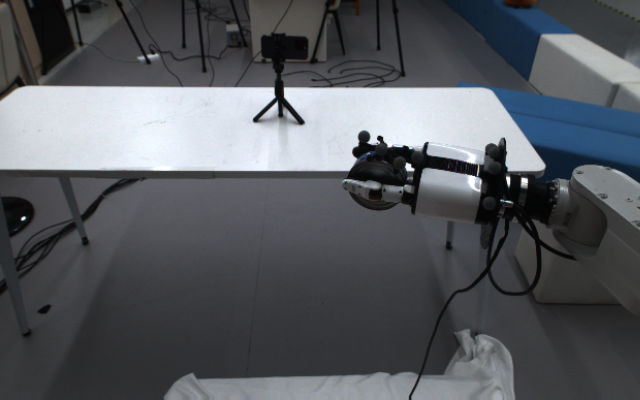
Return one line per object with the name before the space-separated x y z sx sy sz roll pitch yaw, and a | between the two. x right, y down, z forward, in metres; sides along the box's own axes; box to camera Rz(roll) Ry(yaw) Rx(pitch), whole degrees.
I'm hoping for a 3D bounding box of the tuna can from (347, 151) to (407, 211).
tuna can | 0.086 -0.030 0.714 0.085 0.085 0.034 12 33 14
